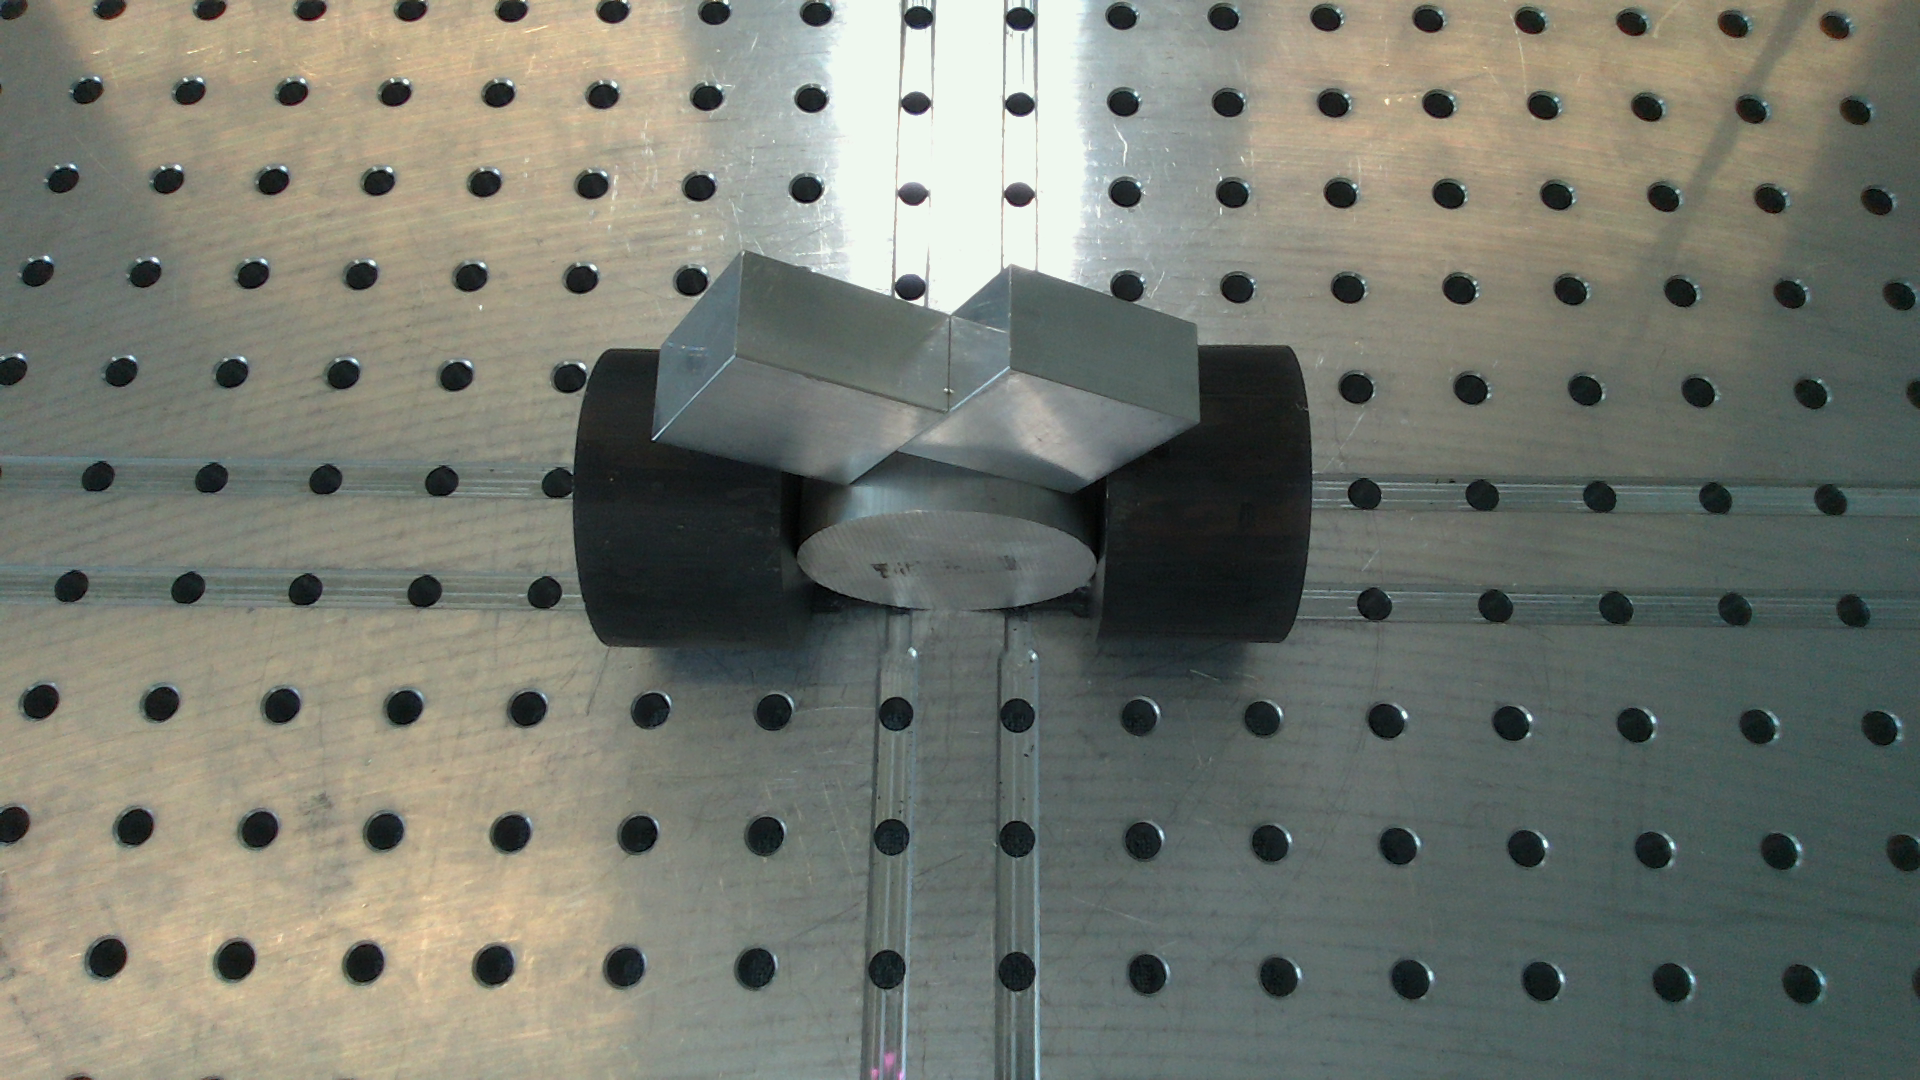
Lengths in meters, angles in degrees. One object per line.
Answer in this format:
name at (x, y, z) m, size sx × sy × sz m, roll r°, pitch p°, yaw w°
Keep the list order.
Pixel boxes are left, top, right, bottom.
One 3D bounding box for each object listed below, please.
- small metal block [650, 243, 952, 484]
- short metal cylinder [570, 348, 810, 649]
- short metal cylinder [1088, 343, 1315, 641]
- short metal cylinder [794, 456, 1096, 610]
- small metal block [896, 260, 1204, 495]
small metal block at (-0.036, -0.037, 0.311) m, size 0.050 × 0.050 × 0.025 m, roll 12°, pitch 67°, yaw -29°
short metal cylinder at (-0.068, -0.011, 0.371) m, size 0.050 × 0.080 × 0.080 m, roll 1°, pitch 70°, yaw 1°
short metal cylinder at (0.062, -0.013, 0.372) m, size 0.050 × 0.080 × 0.080 m, roll 0°, pitch 70°, yaw 1°
short metal cylinder at (-0.003, -0.017, 0.374) m, size 0.080 × 0.080 × 0.050 m, roll 1°, pitch 70°, yaw 0°
small metal block at (0.020, -0.035, 0.315) m, size 0.050 × 0.050 × 0.025 m, roll 12°, pitch 67°, yaw -28°
